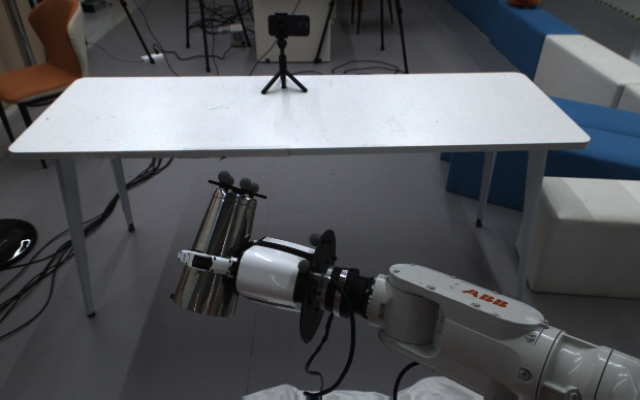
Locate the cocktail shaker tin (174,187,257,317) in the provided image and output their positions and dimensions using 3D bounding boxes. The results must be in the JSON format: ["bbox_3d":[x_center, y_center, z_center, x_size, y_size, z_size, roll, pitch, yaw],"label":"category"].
[{"bbox_3d":[-0.146,0.075,0.708,0.093,0.170,0.093,15,-4,1],"label":"cocktail shaker tin"}]
